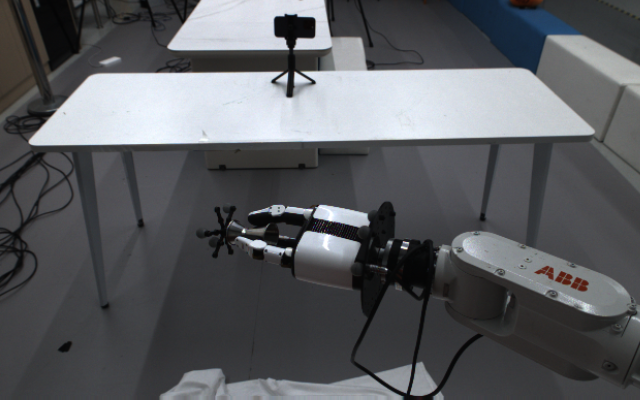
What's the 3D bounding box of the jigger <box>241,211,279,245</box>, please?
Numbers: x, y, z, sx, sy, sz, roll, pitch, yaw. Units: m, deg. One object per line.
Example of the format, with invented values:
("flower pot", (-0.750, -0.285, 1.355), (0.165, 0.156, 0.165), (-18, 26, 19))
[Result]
("jigger", (-0.094, 0.046, 0.728), (0.071, 0.043, 0.043), (4, 33, 24))
